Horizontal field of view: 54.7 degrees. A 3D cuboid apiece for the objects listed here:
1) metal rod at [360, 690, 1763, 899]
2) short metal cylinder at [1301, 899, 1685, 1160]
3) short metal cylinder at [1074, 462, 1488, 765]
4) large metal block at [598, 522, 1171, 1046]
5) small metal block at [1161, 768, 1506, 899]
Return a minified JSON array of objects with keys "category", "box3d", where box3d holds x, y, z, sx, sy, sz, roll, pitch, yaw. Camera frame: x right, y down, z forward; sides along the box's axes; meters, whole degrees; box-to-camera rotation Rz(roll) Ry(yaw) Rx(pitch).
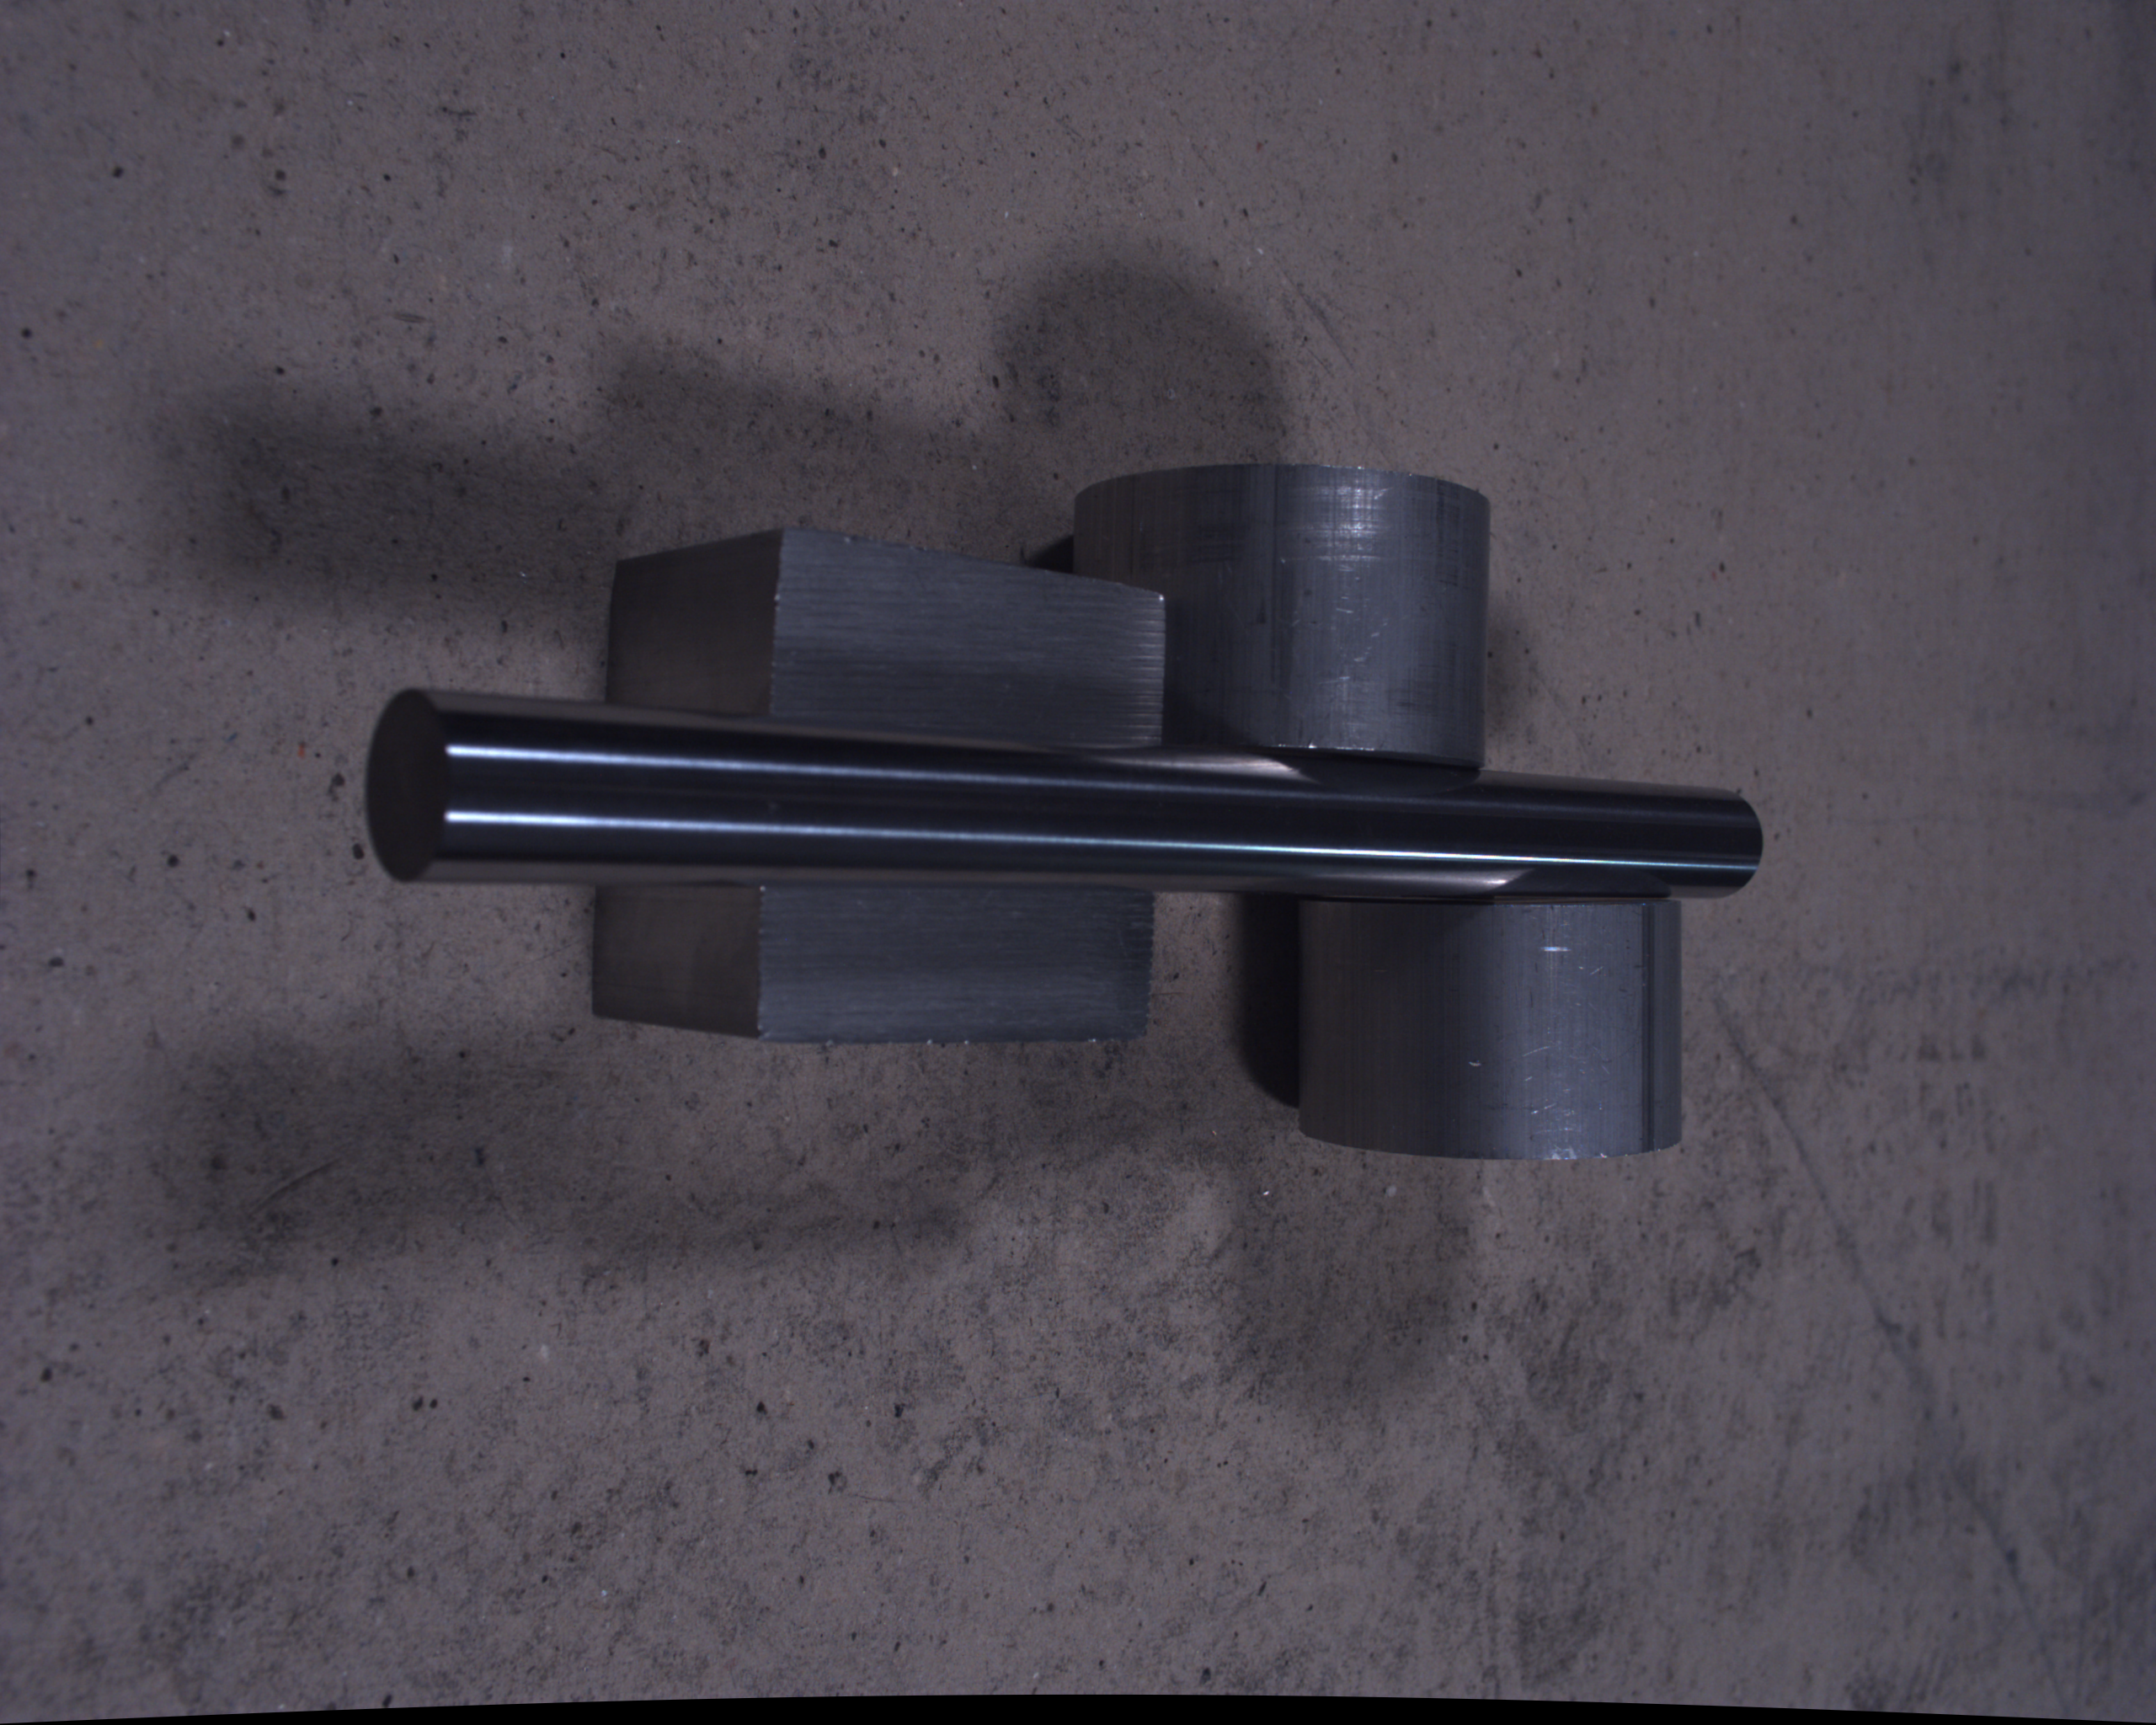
[{"category":"metal rod","box3d":[0.027,-0.007,0.365,0.302,0.025,0.025,1,89,-41]},{"category":"short metal cylinder","box3d":[0.088,0.033,0.446,0.081,0.080,0.050,0,91,-40]},{"category":"short metal cylinder","box3d":[0.039,-0.045,0.406,0.081,0.080,0.050,3,89,-40]},{"category":"large metal block","box3d":[-0.032,-0.010,0.360,0.081,0.050,0.080,4,88,-40]},{"category":"small metal block","box3d":[0.053,-0.005,0.435,0.050,0.050,0.025,1,89,-40]}]
